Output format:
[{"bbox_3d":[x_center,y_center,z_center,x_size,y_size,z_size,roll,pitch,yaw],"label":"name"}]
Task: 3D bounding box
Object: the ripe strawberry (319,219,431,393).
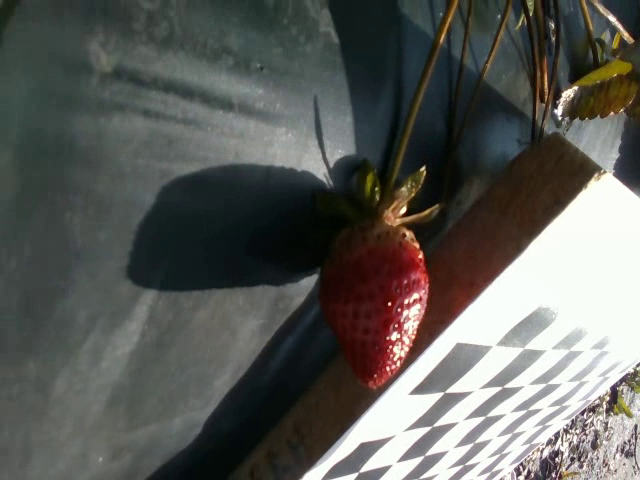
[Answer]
[{"bbox_3d":[0.011,0.014,0.123,0.033,0.038,0.034,-12,-16,40],"label":"ripe strawberry"}]
